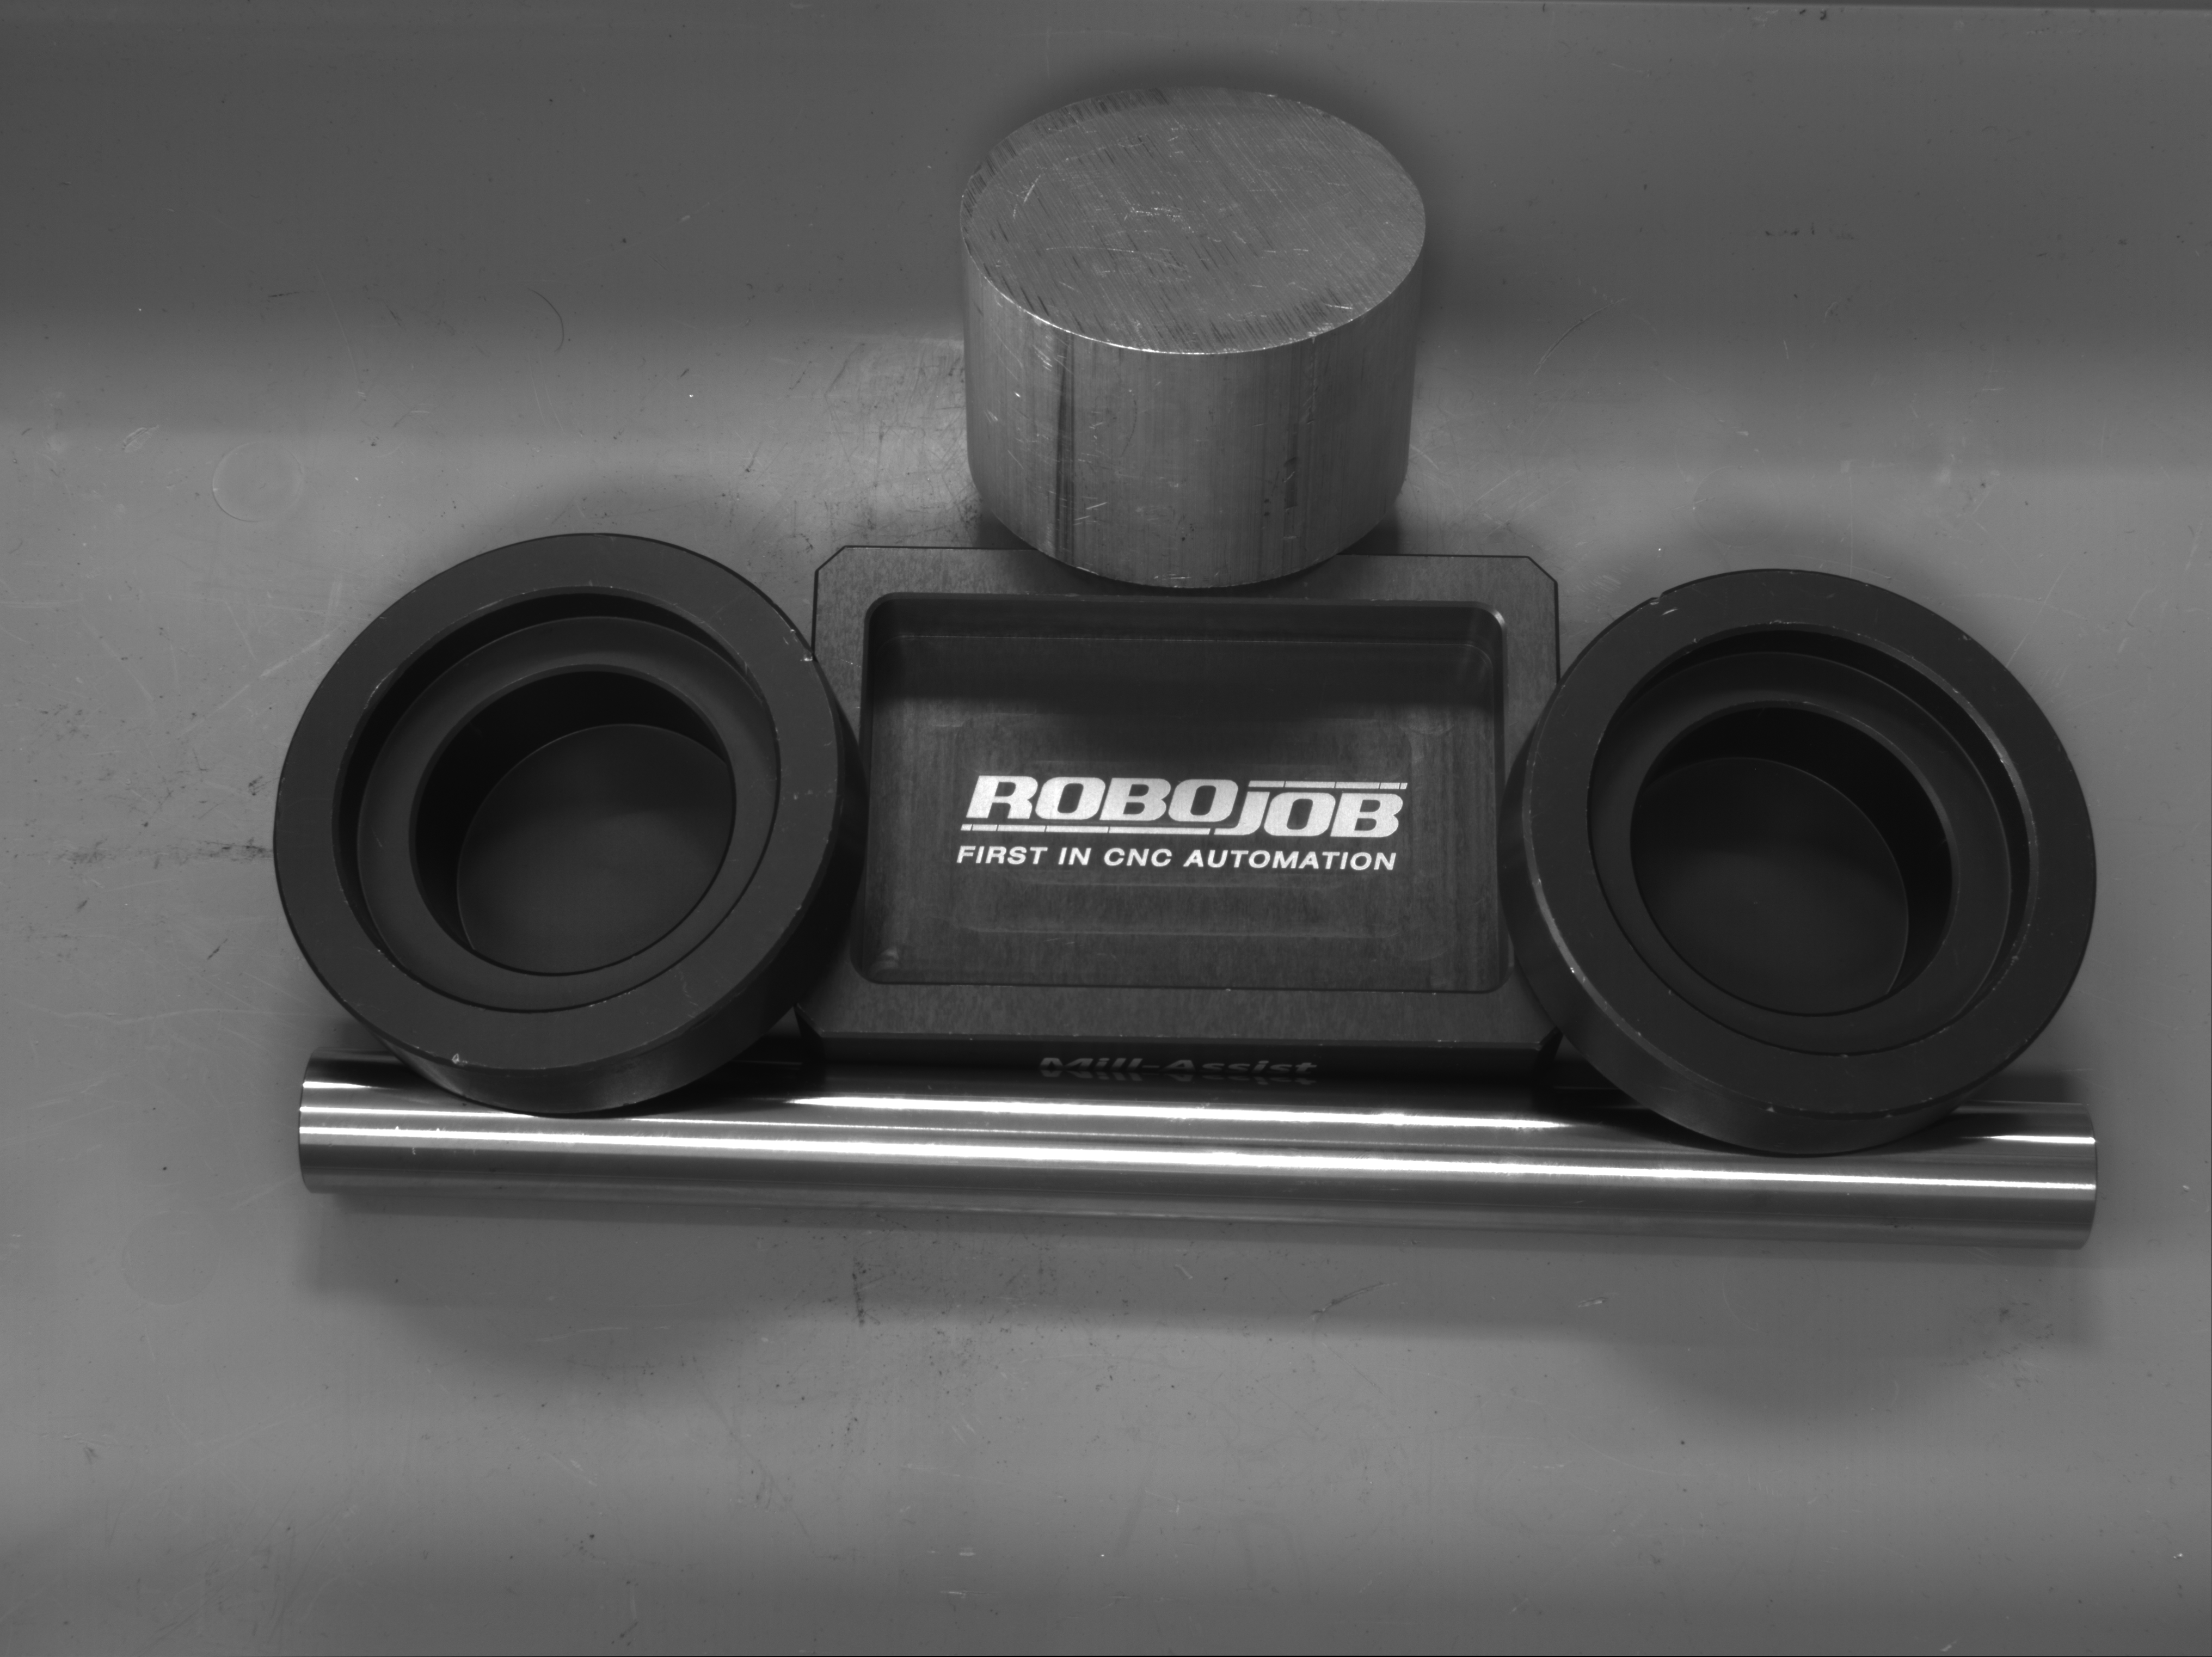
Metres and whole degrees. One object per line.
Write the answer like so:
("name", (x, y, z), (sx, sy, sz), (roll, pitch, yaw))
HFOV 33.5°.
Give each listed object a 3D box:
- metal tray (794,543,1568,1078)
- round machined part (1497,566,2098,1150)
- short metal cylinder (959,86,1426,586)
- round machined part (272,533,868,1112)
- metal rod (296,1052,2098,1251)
("metal tray", (0.013, -0.002, 0.641), (0.130, 0.030, 0.090), (1, 70, 0))
("round machined part", (0.115, 0.008, 0.627), (0.098, 0.042, 0.098), (3, 68, -7))
("short metal cylinder", (0.015, -0.088, 0.647), (0.080, 0.050, 0.080), (0, 43, 0))
("round machined part", (-0.089, 0.002, 0.629), (0.098, 0.042, 0.098), (-3, 67, 8))
("metal rod", (0.015, 0.055, 0.624), (0.300, 0.025, 0.025), (2, 70, 1))
